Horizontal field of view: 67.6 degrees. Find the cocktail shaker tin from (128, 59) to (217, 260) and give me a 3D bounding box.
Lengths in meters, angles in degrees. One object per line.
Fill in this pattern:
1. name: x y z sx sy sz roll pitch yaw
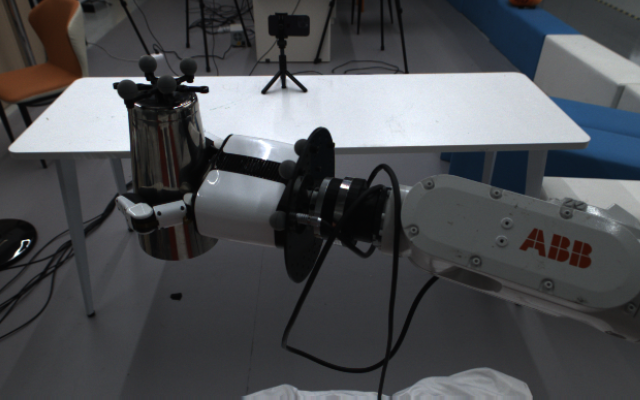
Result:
1. cocktail shaker tin: -0.154 -0.030 0.515 0.093 0.170 0.093 3 34 -2
